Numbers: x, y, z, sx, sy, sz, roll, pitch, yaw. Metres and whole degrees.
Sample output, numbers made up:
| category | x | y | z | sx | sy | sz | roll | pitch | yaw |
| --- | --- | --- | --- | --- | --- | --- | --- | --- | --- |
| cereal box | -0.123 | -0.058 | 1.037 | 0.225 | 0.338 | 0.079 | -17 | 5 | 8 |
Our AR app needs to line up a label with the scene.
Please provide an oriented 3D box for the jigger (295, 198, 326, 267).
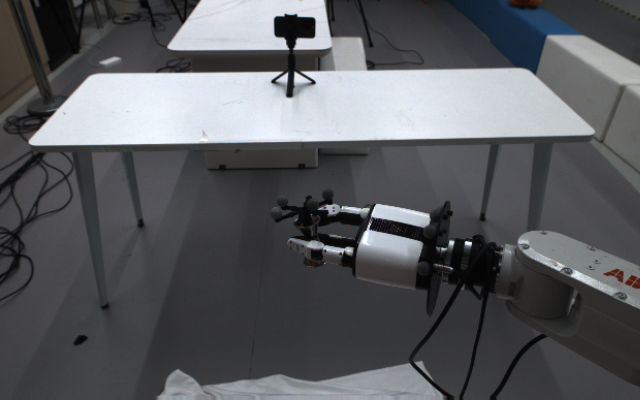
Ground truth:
| category | x | y | z | sx | sy | sz | roll | pitch | yaw |
| --- | --- | --- | --- | --- | --- | --- | --- | --- | --- |
| jigger | -0.011 | 0.059 | 0.717 | 0.043 | 0.071 | 0.043 | -11 | 24 | 5 |
